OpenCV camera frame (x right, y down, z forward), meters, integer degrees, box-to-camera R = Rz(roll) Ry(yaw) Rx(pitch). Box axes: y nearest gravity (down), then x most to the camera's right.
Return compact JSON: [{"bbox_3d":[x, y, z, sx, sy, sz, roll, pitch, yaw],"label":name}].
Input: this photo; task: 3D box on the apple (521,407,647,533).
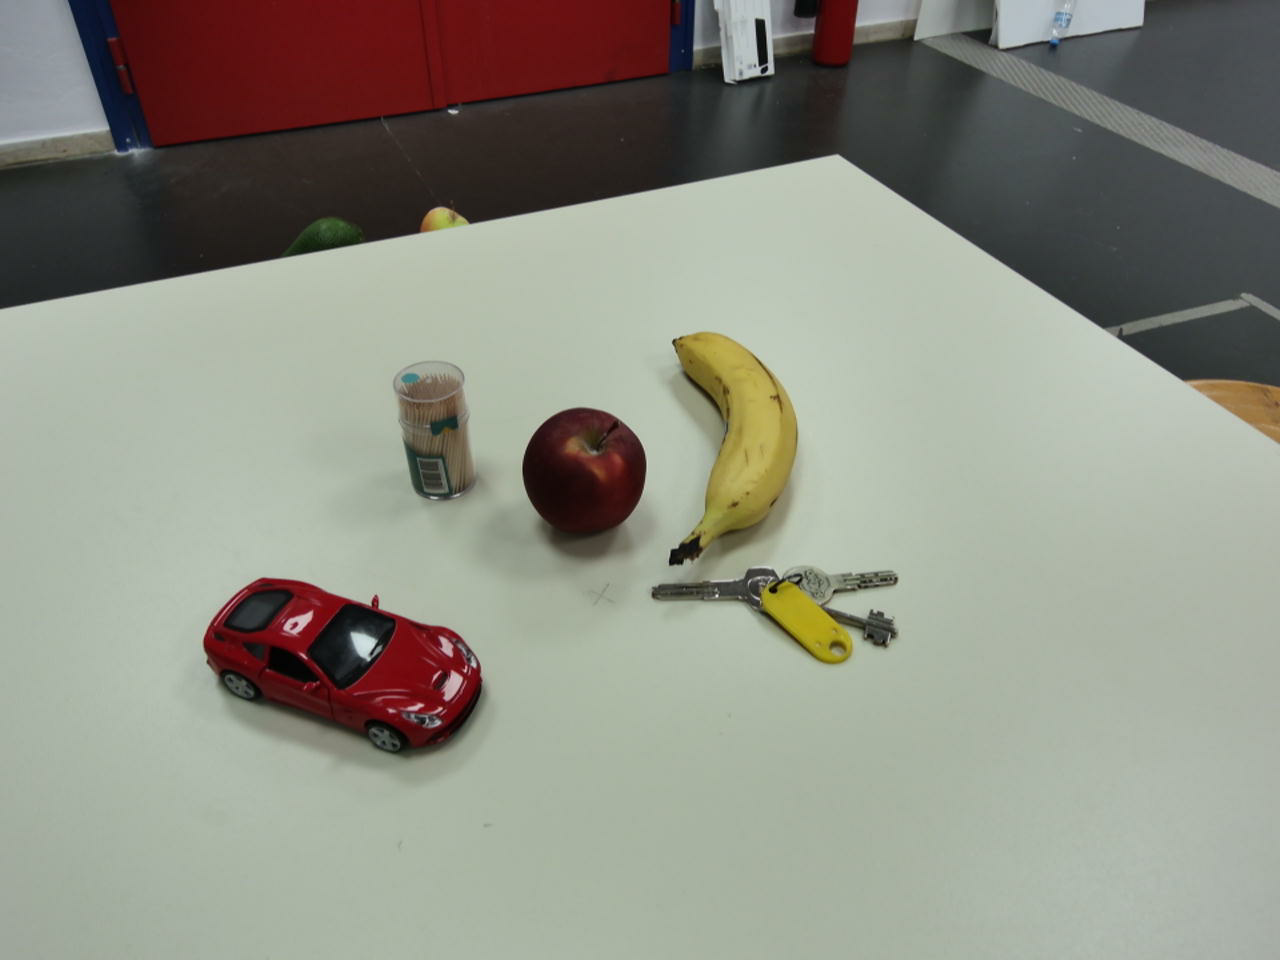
[{"bbox_3d":[-0.031,-0.004,0.557,0.070,0.072,0.070,1,39,-1],"label":"apple"}]
